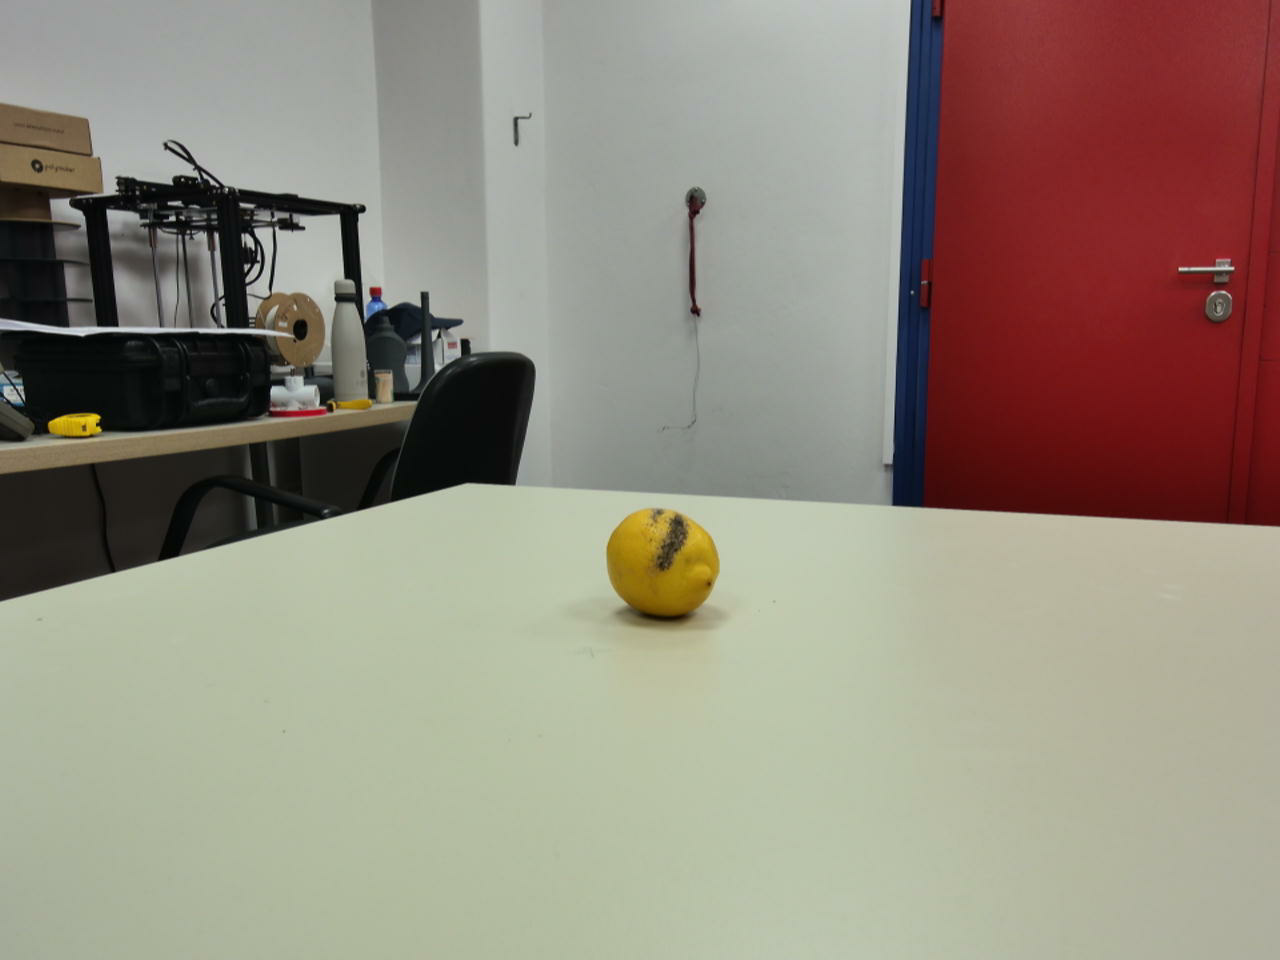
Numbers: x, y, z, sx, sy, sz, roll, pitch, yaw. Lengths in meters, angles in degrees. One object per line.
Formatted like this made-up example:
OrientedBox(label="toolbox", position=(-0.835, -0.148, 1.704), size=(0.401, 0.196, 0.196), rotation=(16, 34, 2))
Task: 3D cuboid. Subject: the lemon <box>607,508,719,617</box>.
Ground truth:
OrientedBox(label="lemon", position=(0.012, 0.044, 0.533), size=(0.061, 0.056, 0.058), rotation=(2, 6, 16))
